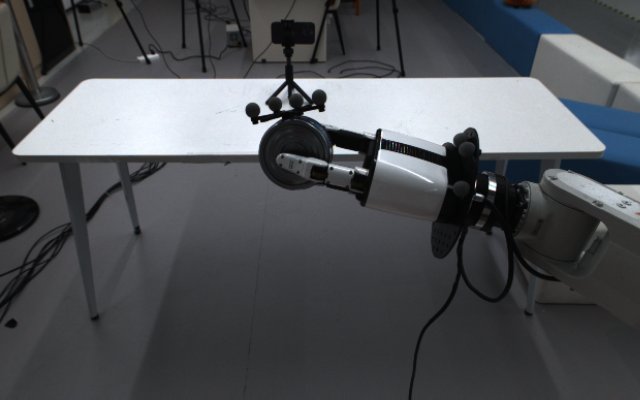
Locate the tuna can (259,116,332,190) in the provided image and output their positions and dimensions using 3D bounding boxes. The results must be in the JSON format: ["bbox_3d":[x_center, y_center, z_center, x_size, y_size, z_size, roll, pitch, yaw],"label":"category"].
[{"bbox_3d":[-0.024,-0.050,0.571,0.085,0.085,0.034,6,18,5],"label":"tuna can"}]
